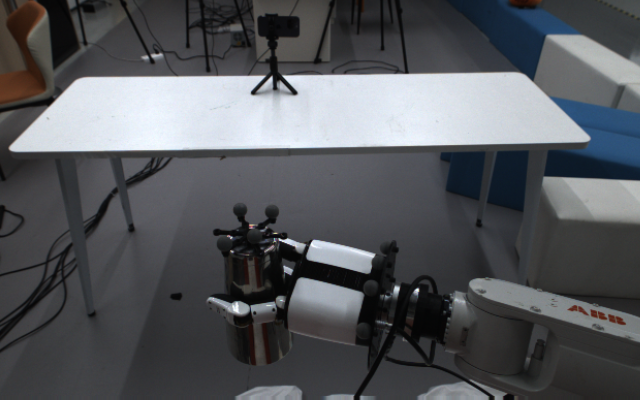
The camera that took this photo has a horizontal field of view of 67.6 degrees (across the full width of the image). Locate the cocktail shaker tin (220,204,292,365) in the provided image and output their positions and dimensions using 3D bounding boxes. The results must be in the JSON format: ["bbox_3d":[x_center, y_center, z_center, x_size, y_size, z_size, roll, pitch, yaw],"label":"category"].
[{"bbox_3d":[-0.080,0.119,0.622,0.093,0.170,0.093,0,32,0],"label":"cocktail shaker tin"}]
